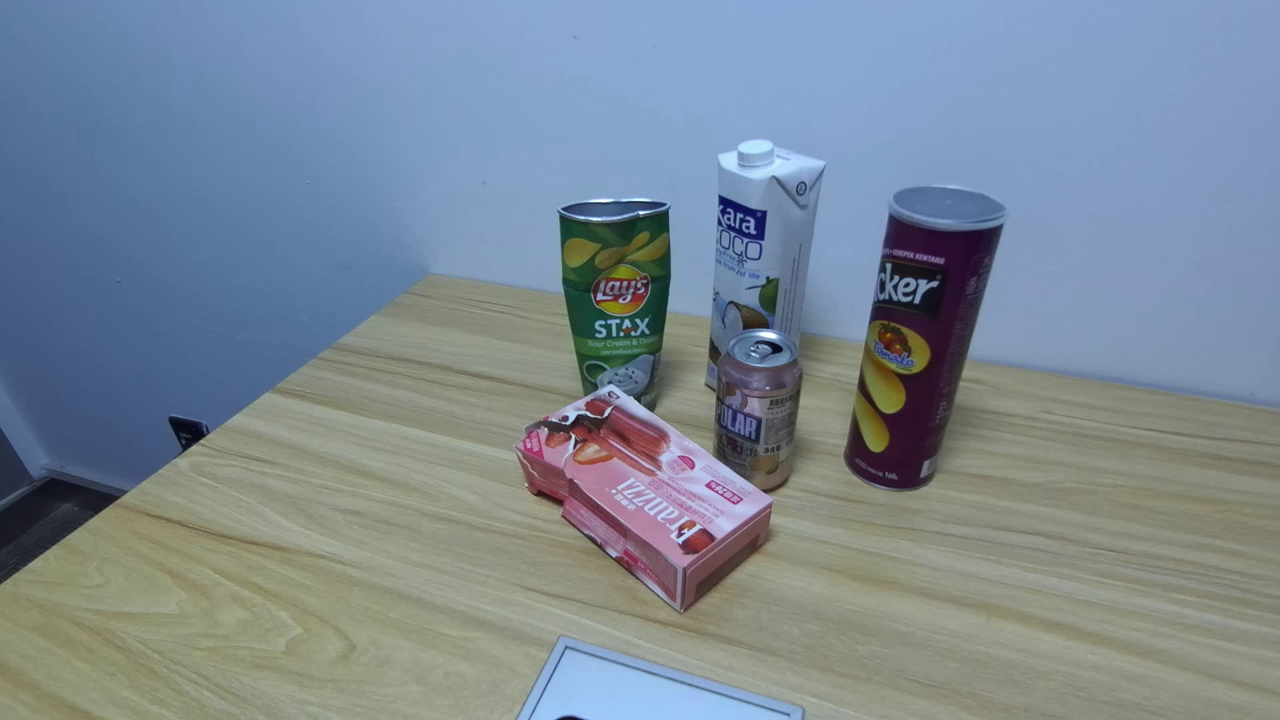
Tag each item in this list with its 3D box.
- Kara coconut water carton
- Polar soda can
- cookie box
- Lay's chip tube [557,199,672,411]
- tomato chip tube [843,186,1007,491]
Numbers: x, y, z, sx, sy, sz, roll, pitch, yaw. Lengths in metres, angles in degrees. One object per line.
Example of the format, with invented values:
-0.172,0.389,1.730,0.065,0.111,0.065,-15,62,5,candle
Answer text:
0.108,-0.073,0.637,0.075,0.245,0.076,-18,36,-28,Kara coconut water carton
0.096,0.042,0.573,0.067,0.126,0.067,-2,32,2,Polar soda can
0.001,0.097,0.550,0.105,0.059,0.185,-31,45,-33,cookie box
-0.019,-0.042,0.631,0.075,0.200,0.068,-29,42,-34,Lay's chip tube
0.215,-0.009,0.549,0.078,0.234,0.078,-1,33,1,tomato chip tube
